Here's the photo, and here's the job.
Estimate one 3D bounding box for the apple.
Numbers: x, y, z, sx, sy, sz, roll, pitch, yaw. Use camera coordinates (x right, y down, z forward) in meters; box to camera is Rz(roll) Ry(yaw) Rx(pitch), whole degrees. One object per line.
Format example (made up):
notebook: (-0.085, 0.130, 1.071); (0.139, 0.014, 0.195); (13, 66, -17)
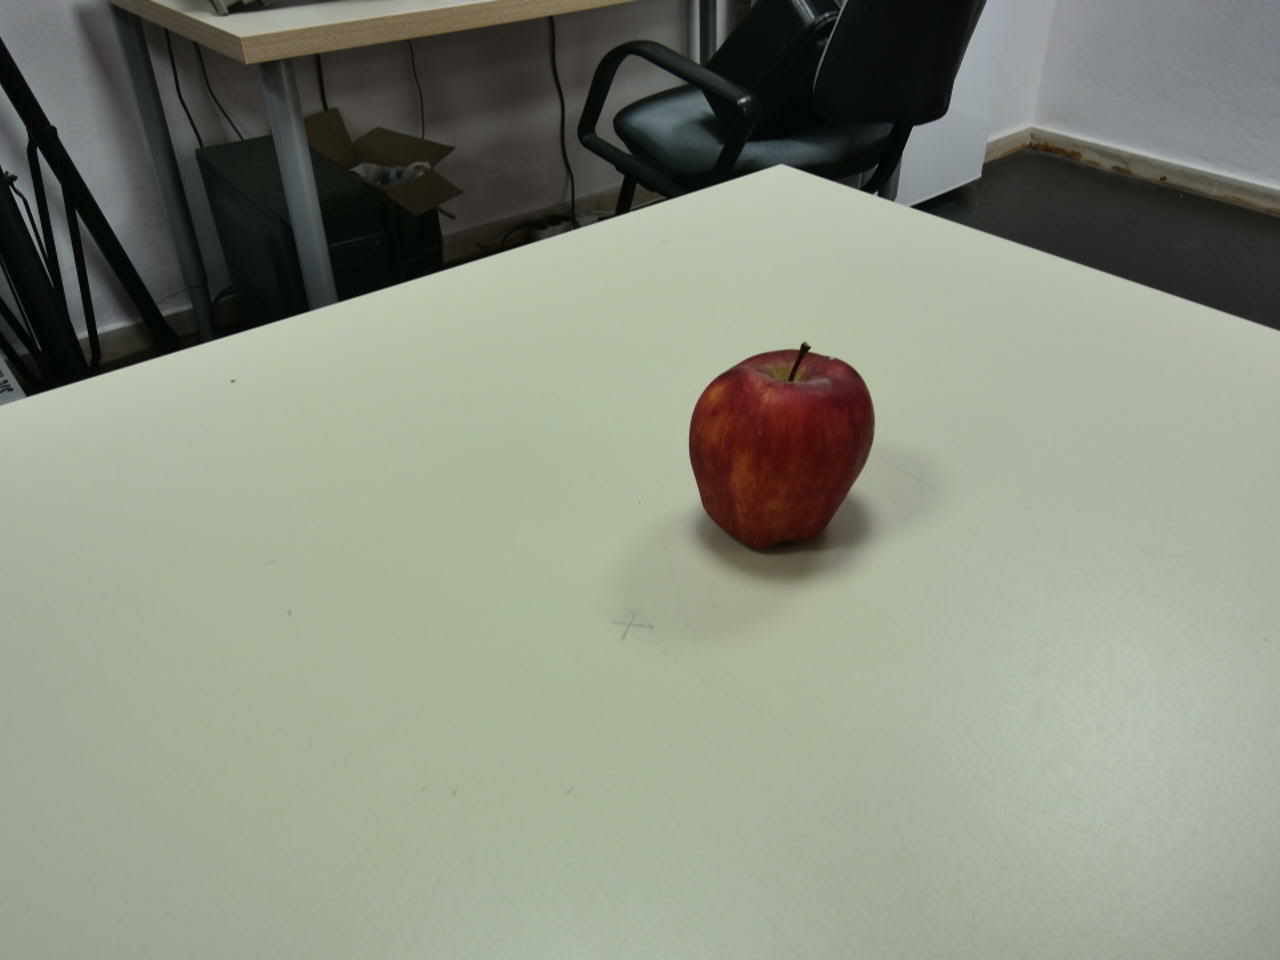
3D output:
apple: (0.062, -0.020, 0.436); (0.083, 0.090, 0.083); (0, 35, 0)
